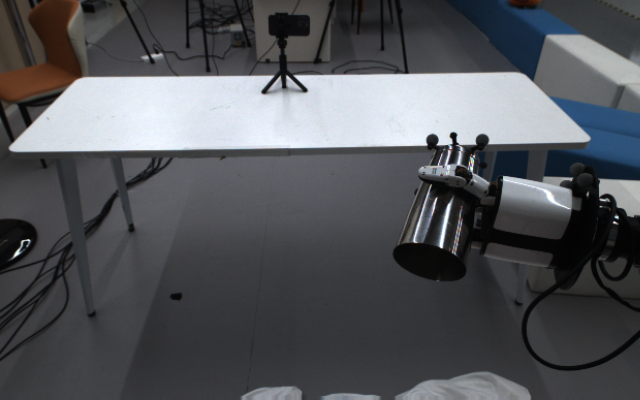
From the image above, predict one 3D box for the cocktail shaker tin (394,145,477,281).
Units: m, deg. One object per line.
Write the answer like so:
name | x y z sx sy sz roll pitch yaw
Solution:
cocktail shaker tin | 0.162 0.008 0.637 0.093 0.093 0.170 14 57 16
